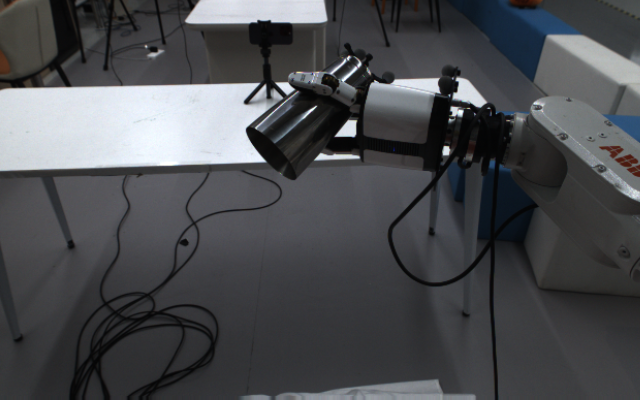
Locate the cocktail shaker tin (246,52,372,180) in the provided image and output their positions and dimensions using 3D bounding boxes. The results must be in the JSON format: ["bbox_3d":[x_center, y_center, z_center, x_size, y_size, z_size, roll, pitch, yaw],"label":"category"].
[{"bbox_3d":[-0.006,-0.121,0.650,0.170,0.093,0.093,-44,51,-14],"label":"cocktail shaker tin"}]
